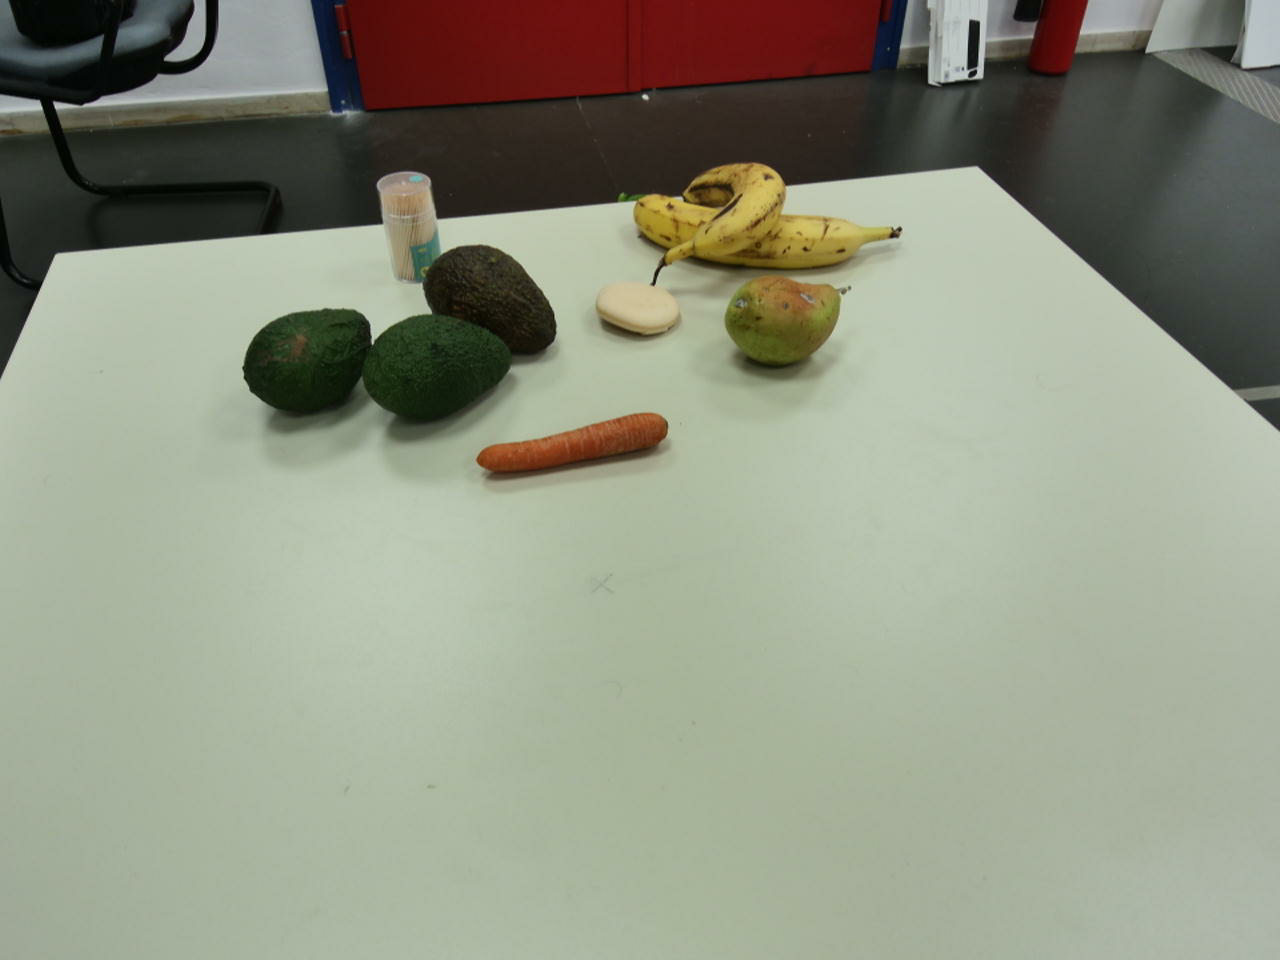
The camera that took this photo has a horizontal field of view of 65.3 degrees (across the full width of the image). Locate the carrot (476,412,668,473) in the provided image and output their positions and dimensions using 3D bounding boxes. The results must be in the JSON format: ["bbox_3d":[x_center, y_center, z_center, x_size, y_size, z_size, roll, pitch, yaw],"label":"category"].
[{"bbox_3d":[-0.041,-0.023,0.623,0.122,0.023,0.024,-10,40,-12],"label":"carrot"}]
